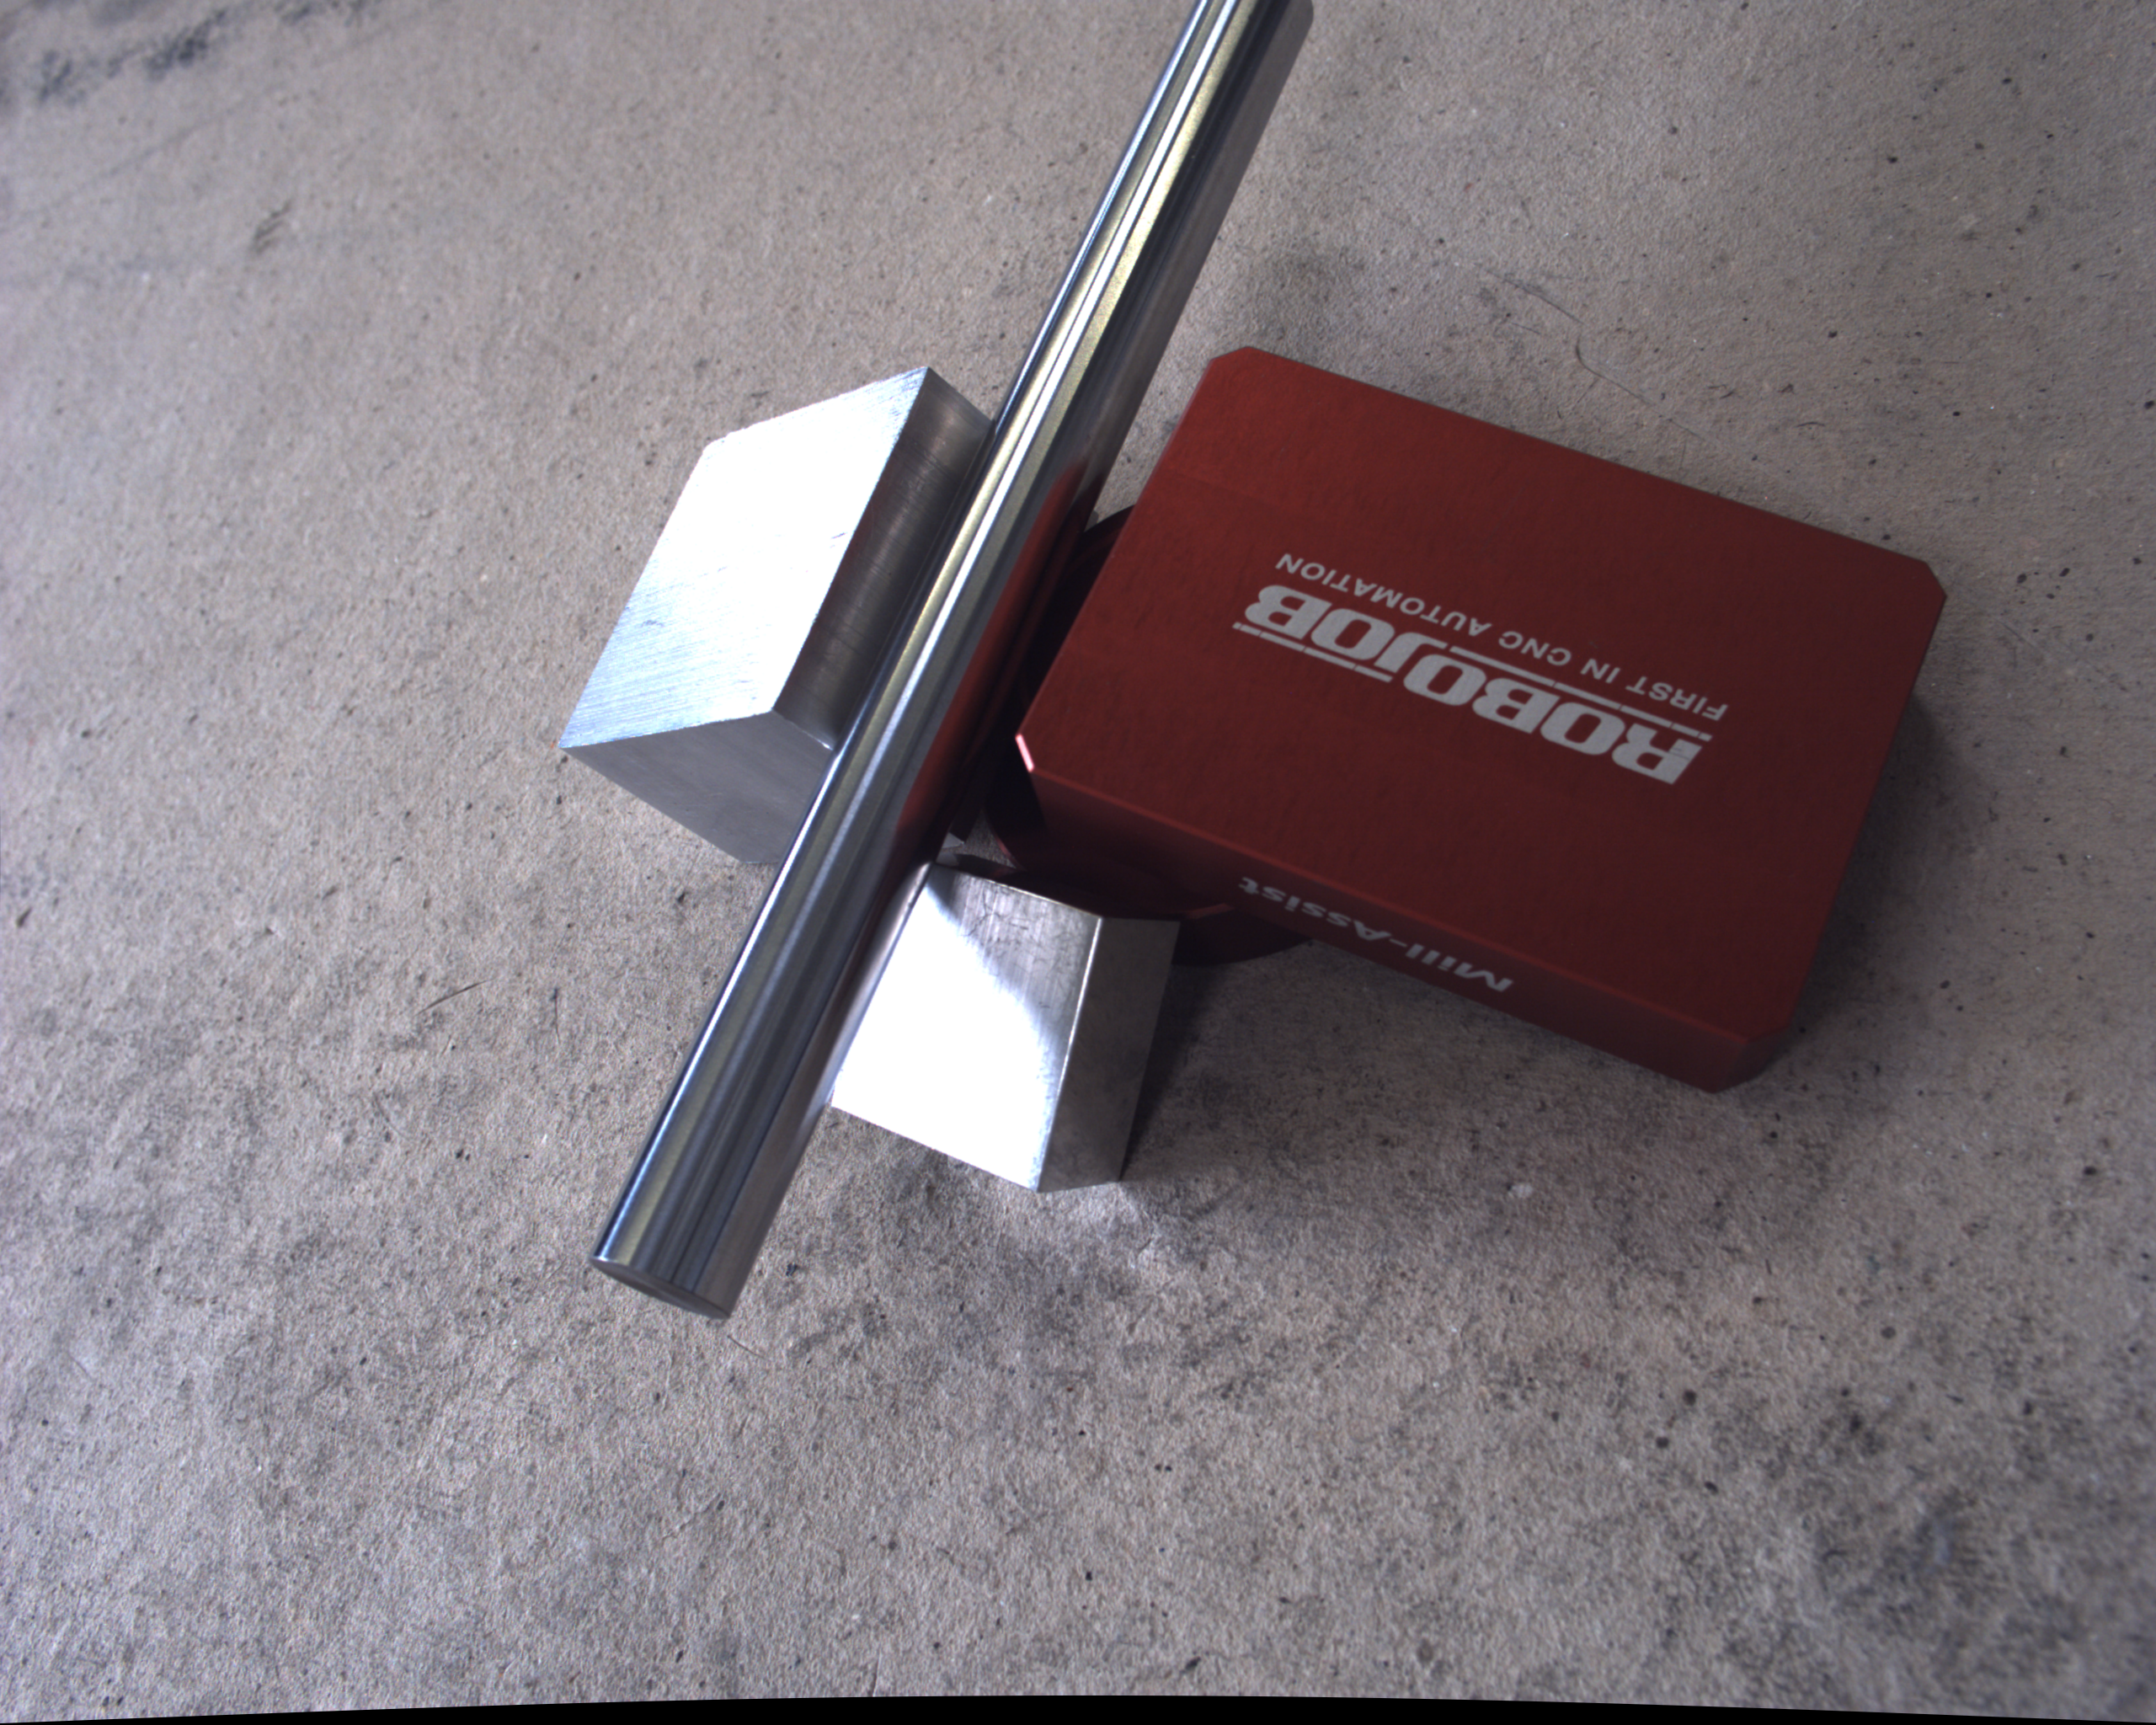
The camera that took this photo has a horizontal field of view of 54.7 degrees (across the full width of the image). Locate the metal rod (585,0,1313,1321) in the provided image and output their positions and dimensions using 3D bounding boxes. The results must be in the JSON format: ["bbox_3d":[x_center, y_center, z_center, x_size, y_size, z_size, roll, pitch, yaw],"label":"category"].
[{"bbox_3d":[-0.015,-0.059,0.395,0.025,0.025,0.300,8,63,31],"label":"metal rod"}]

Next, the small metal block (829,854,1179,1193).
[{"bbox_3d":[-0.014,0.028,0.383,0.050,0.025,0.050,17,96,35],"label":"small metal block"}]

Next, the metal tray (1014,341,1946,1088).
[{"bbox_3d":[0.067,-0.028,0.356,0.130,0.030,0.090,21,73,14],"label":"metal tray"}]

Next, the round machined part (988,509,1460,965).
[{"bbox_3d":[0.024,-0.033,0.402,0.098,0.042,0.098,-13,56,21],"label":"round machined part"}]

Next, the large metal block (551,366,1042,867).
[{"bbox_3d":[-0.052,-0.047,0.432,0.080,0.050,0.080,-3,58,47],"label":"large metal block"}]
